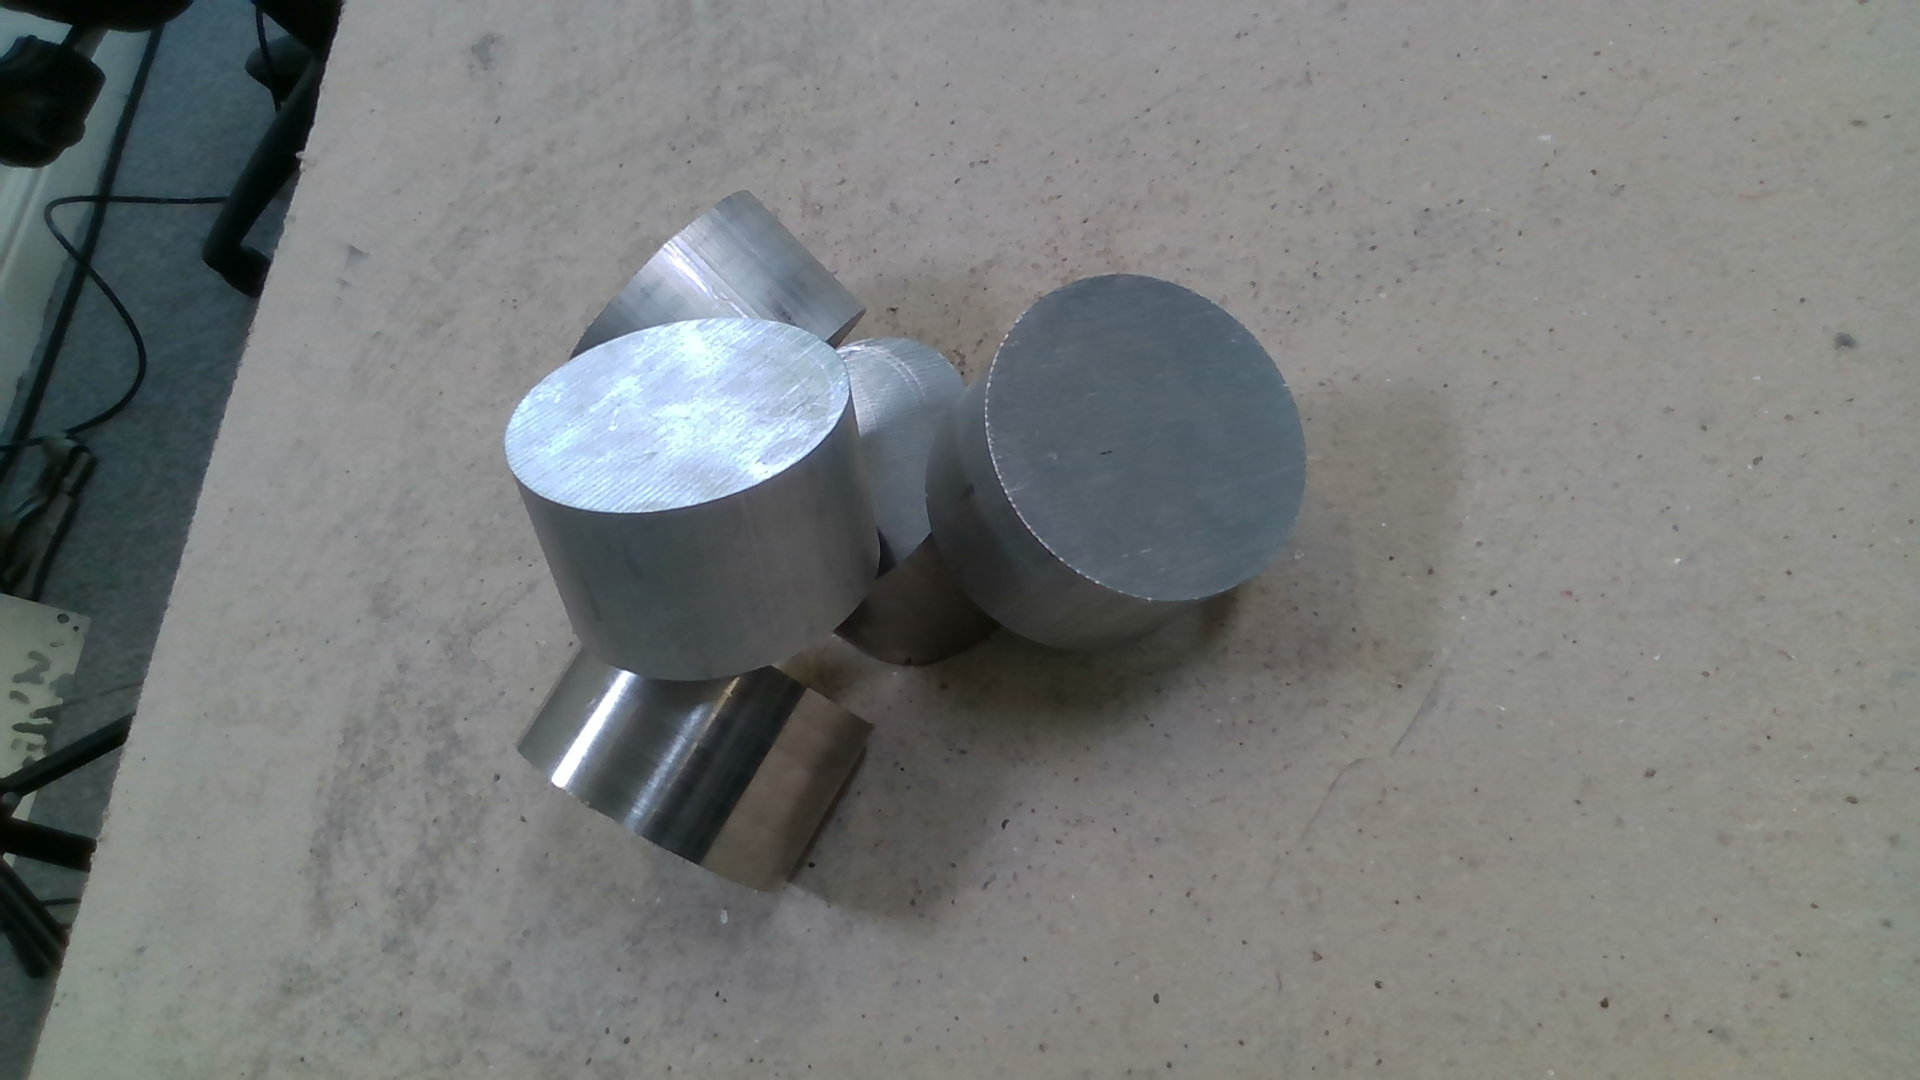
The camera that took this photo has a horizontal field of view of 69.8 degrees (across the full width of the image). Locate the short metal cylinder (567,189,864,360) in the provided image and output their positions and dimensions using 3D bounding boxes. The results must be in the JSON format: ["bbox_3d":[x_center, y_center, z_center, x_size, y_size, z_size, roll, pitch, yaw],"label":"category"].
[{"bbox_3d":[-0.076,-0.062,0.430,0.080,0.050,0.080,-44,6,6],"label":"short metal cylinder"}]

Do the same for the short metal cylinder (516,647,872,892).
[{"bbox_3d":[-0.071,0.053,0.373,0.080,0.080,0.050,23,79,38],"label":"short metal cylinder"}]

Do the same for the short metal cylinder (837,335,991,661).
[{"bbox_3d":[-0.020,-0.011,0.395,0.080,0.050,0.080,-14,59,25],"label":"short metal cylinder"}]

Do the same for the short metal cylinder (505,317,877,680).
[{"bbox_3d":[-0.063,-0.012,0.336,0.080,0.050,0.080,-5,39,4],"label":"short metal cylinder"}]

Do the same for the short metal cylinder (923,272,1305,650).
[{"bbox_3d":[0.036,-0.018,0.337,0.050,0.080,0.080,135,150,-66],"label":"short metal cylinder"}]
